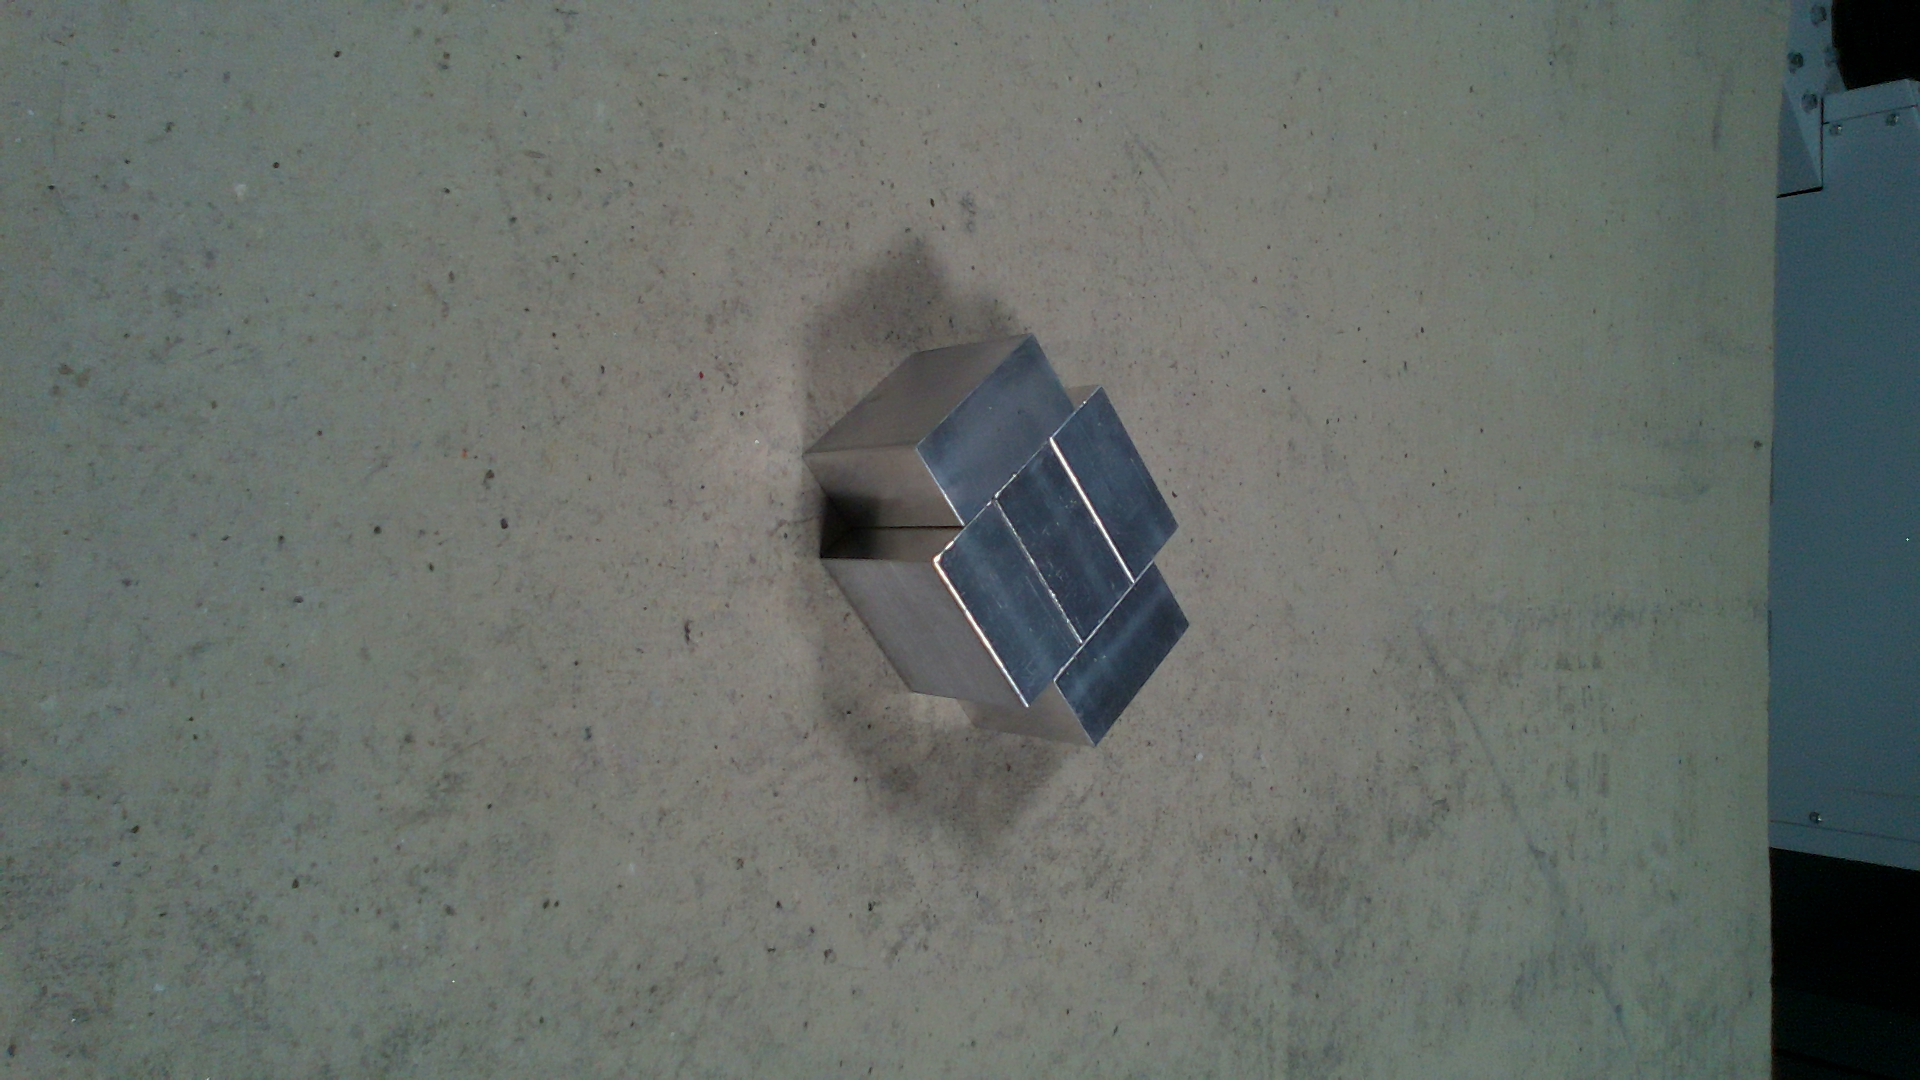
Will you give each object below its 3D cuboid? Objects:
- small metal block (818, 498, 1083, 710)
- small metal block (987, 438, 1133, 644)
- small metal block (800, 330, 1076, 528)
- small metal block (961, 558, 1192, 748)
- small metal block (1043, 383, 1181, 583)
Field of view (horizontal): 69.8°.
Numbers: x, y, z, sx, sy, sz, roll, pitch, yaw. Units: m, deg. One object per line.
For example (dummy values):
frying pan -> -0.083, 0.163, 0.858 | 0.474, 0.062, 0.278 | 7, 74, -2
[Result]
small metal block -> -0.003, 0.017, 0.370 | 0.025, 0.050, 0.050 | -47, 118, -29
small metal block -> 0.012, 0.001, 0.382 | 0.025, 0.050, 0.050 | -47, 118, -29
small metal block -> -0.006, -0.029, 0.367 | 0.050, 0.050, 0.025 | -47, 118, -30
small metal block -> 0.030, 0.031, 0.397 | 0.050, 0.050, 0.025 | -47, 118, -30
small metal block -> 0.027, -0.015, 0.395 | 0.025, 0.050, 0.050 | -48, 118, -29
